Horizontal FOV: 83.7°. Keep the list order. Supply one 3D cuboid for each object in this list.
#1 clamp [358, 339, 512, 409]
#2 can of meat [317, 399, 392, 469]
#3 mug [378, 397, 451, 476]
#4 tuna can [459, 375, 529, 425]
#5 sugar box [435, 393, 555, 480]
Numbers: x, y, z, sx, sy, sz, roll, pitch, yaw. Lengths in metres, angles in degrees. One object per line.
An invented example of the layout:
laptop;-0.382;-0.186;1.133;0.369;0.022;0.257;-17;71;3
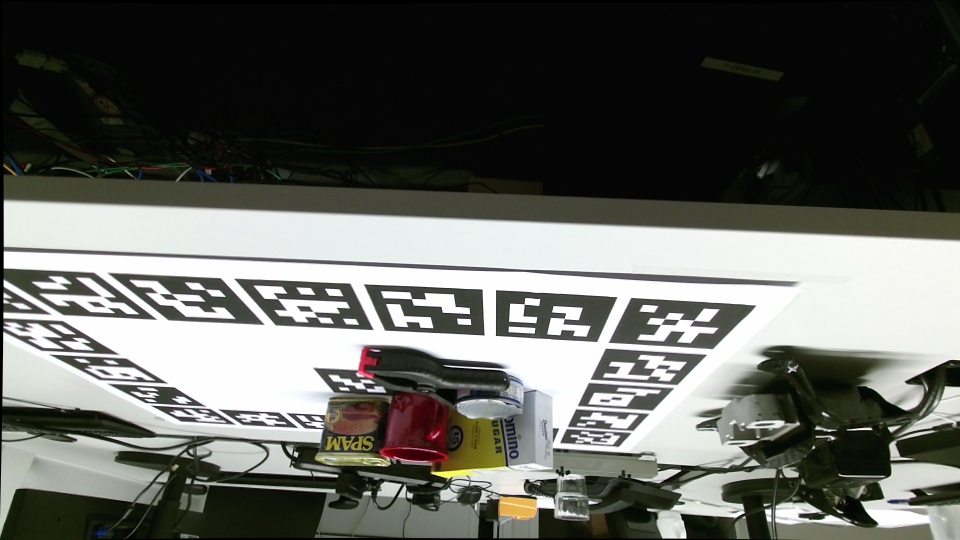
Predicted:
clamp;-0.061;0.121;0.616;0.166;0.036;0.122;27;146;-23
can of meat;-0.177;0.232;0.760;0.102;0.083;0.058;-1;148;12
mug;-0.078;0.216;0.707;0.094;0.081;0.117;17;144;-17
tuna can;0.018;0.159;0.655;0.086;0.033;0.086;3;145;2
sugar box;0.015;0.226;0.716;0.177;0.092;0.045;-20;141;35
